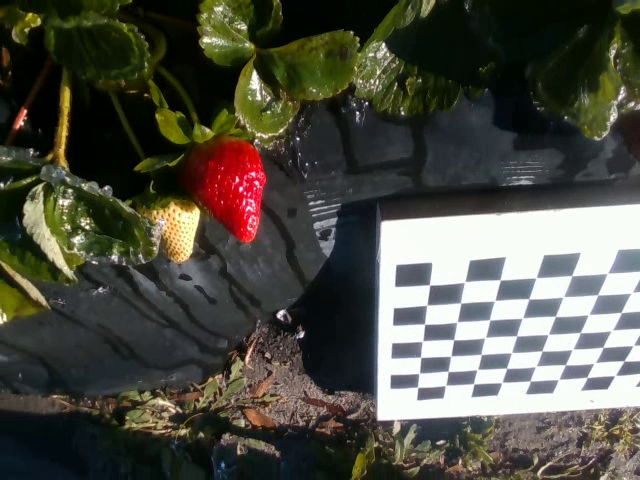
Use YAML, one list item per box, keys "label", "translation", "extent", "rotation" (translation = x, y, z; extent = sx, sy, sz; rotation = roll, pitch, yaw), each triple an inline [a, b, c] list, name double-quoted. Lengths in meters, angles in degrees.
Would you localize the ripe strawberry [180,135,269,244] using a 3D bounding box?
- label: "ripe strawberry"
  translation: [-0.045, -0.023, 0.325]
  extent: [0.042, 0.061, 0.046]
  rotation: [-13, 6, 12]
